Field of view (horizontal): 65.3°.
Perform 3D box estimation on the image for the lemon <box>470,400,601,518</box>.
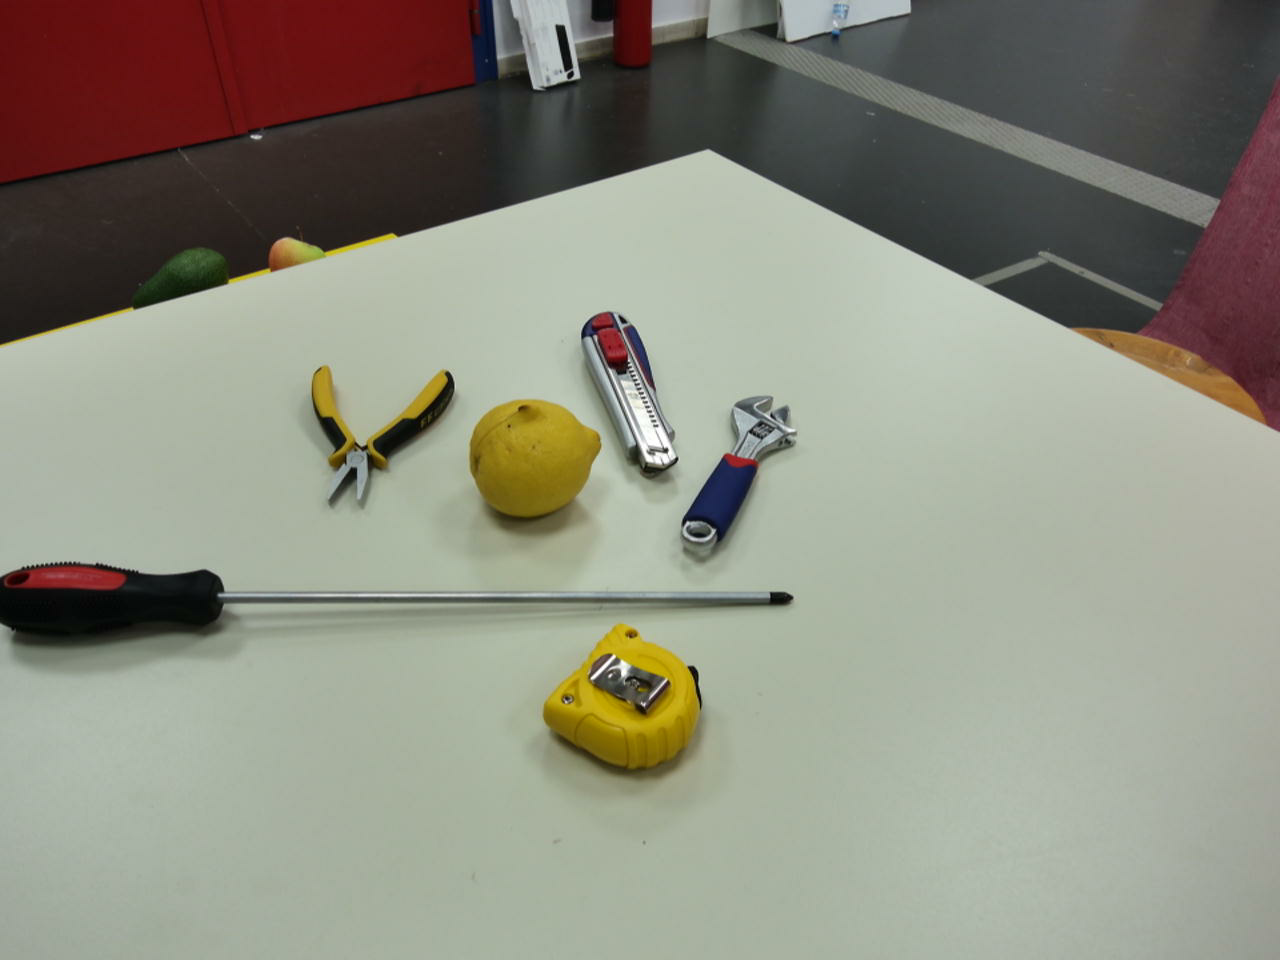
[{"bbox_3d":[-0.063,-0.015,0.576,0.071,0.071,0.070,13,40,15],"label":"lemon"}]
